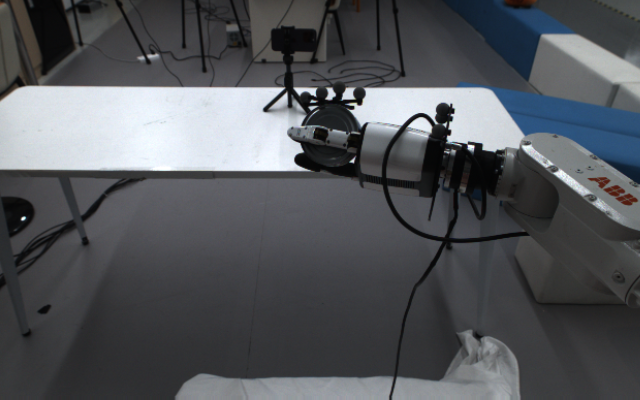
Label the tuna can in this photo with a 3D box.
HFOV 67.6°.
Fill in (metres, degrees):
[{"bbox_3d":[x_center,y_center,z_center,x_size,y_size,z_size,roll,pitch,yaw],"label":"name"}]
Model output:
[{"bbox_3d":[0.017,-0.091,0.686,0.085,0.085,0.034,15,1,18],"label":"tuna can"}]
